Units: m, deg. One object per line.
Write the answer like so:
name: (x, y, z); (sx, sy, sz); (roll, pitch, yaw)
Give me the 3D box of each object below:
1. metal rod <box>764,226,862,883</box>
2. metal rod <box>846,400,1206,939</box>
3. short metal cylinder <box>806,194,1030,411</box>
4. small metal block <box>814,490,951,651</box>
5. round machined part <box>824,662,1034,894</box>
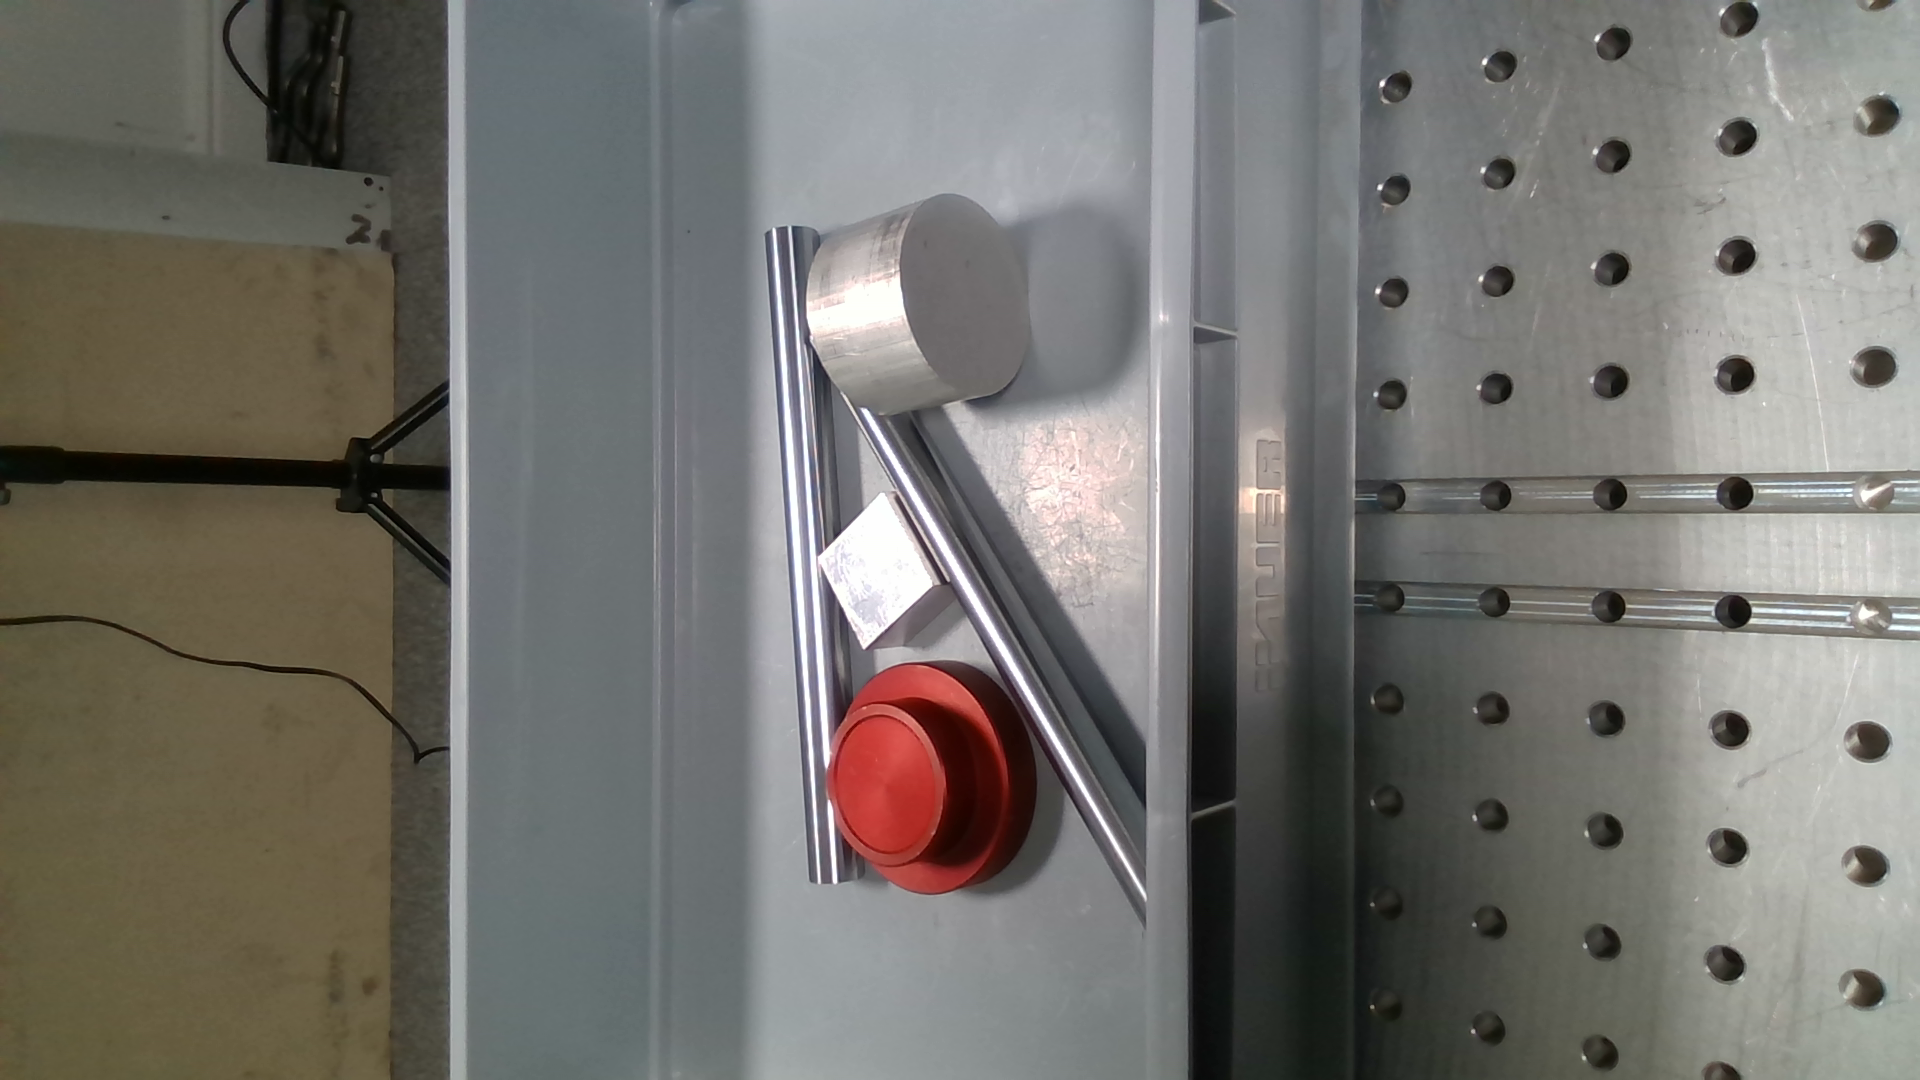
metal rod: (-0.068, 0.005, 0.638); (0.025, 0.025, 0.300); (-7, 86, 40)
metal rod: (0.012, 0.023, 0.570); (0.025, 0.025, 0.299); (-45, 63, 31)
short metal cylinder: (-0.016, -0.094, 0.558); (0.050, 0.080, 0.080); (-6, 86, 40)
small metal block: (-0.031, 0.014, 0.606); (0.050, 0.025, 0.050); (-43, 64, 32)
round machined part: (-0.020, 0.101, 0.585); (0.098, 0.042, 0.098); (0, 91, 40)
